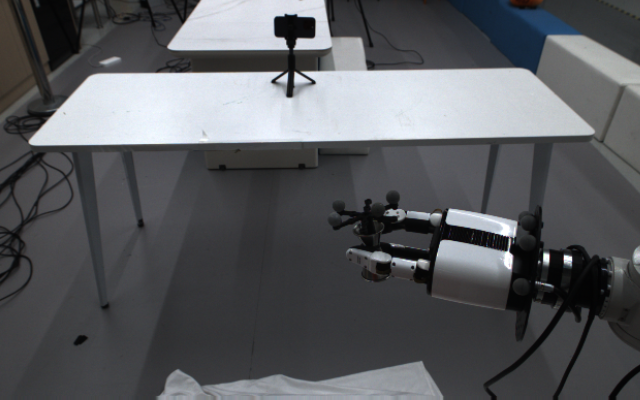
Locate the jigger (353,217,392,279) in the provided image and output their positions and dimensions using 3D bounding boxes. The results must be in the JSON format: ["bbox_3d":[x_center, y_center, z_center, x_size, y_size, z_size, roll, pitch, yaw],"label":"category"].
[{"bbox_3d":[0.068,0.064,0.621,0.043,0.071,0.043,-12,24,5],"label":"jigger"}]
